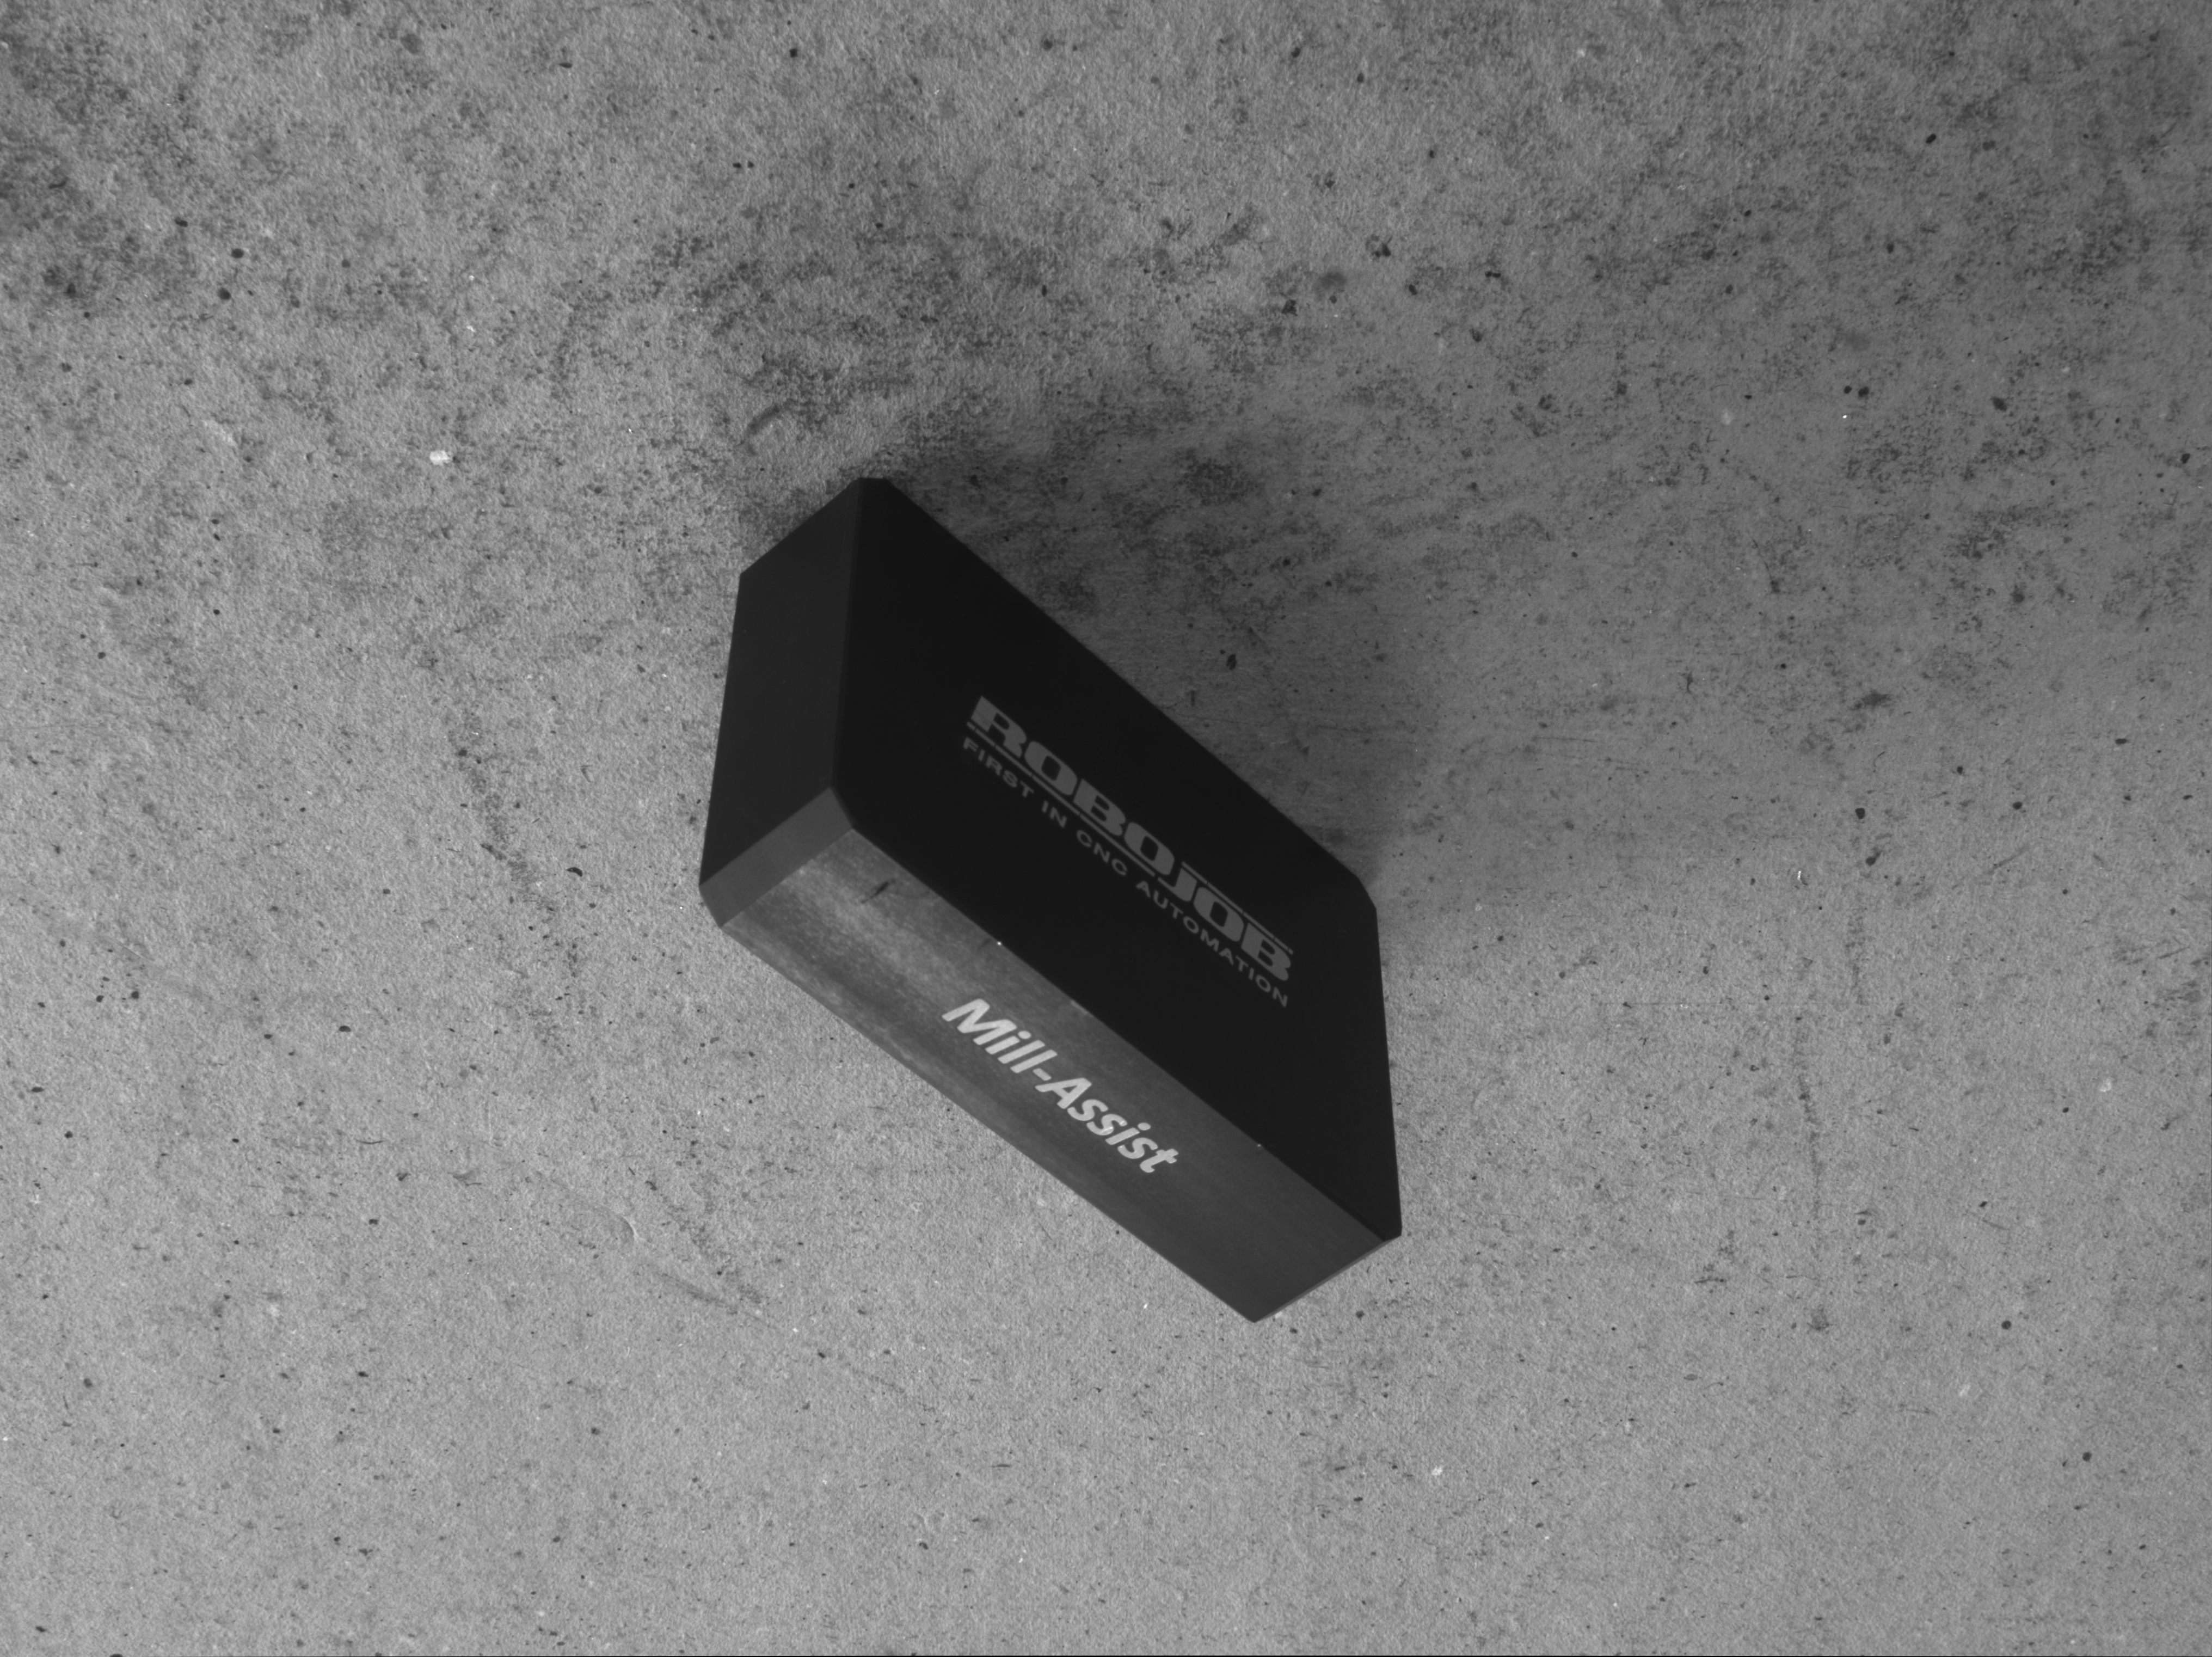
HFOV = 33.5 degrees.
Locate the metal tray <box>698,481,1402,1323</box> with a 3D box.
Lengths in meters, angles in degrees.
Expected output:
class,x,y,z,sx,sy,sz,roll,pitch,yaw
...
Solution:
class,x,y,z,sx,sy,sz,roll,pitch,yaw
metal tray,-0.007,0.012,0.608,0.030,0.090,0.130,-36,122,26
